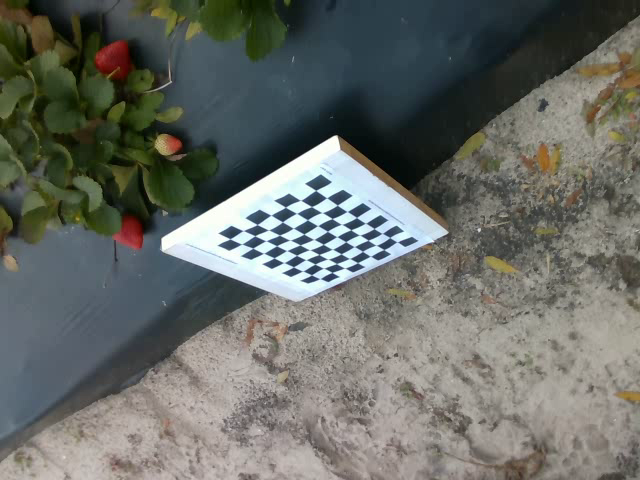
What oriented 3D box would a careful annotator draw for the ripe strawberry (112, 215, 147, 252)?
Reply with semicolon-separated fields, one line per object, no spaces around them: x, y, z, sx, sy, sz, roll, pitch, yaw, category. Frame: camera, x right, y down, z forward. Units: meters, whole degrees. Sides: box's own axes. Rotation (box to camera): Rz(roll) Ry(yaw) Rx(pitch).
-0.205;-0.015;0.607;0.036;0.046;0.037;-42;-11;-27;ripe strawberry
